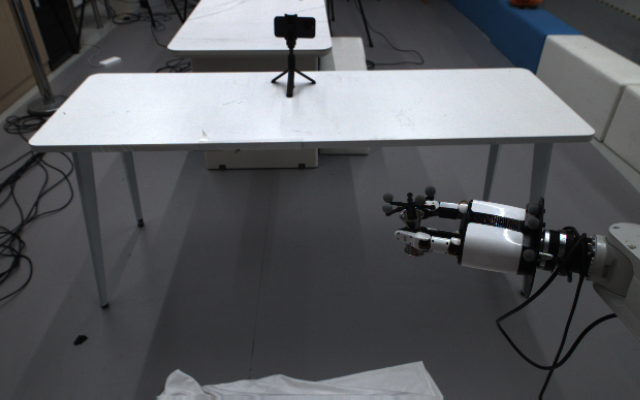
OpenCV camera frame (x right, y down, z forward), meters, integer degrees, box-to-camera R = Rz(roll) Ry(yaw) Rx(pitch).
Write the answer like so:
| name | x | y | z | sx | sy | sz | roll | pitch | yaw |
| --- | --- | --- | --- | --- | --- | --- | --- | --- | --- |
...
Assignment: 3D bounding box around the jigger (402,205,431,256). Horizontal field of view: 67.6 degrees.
| name | x | y | z | sx | sy | sz | roll | pitch | yaw |
| --- | --- | --- | --- | --- | --- | --- | --- | --- | --- |
| jigger | 0.157 | 0.052 | 0.808 | 0.043 | 0.071 | 0.043 | -12 | 24 | 5 |
